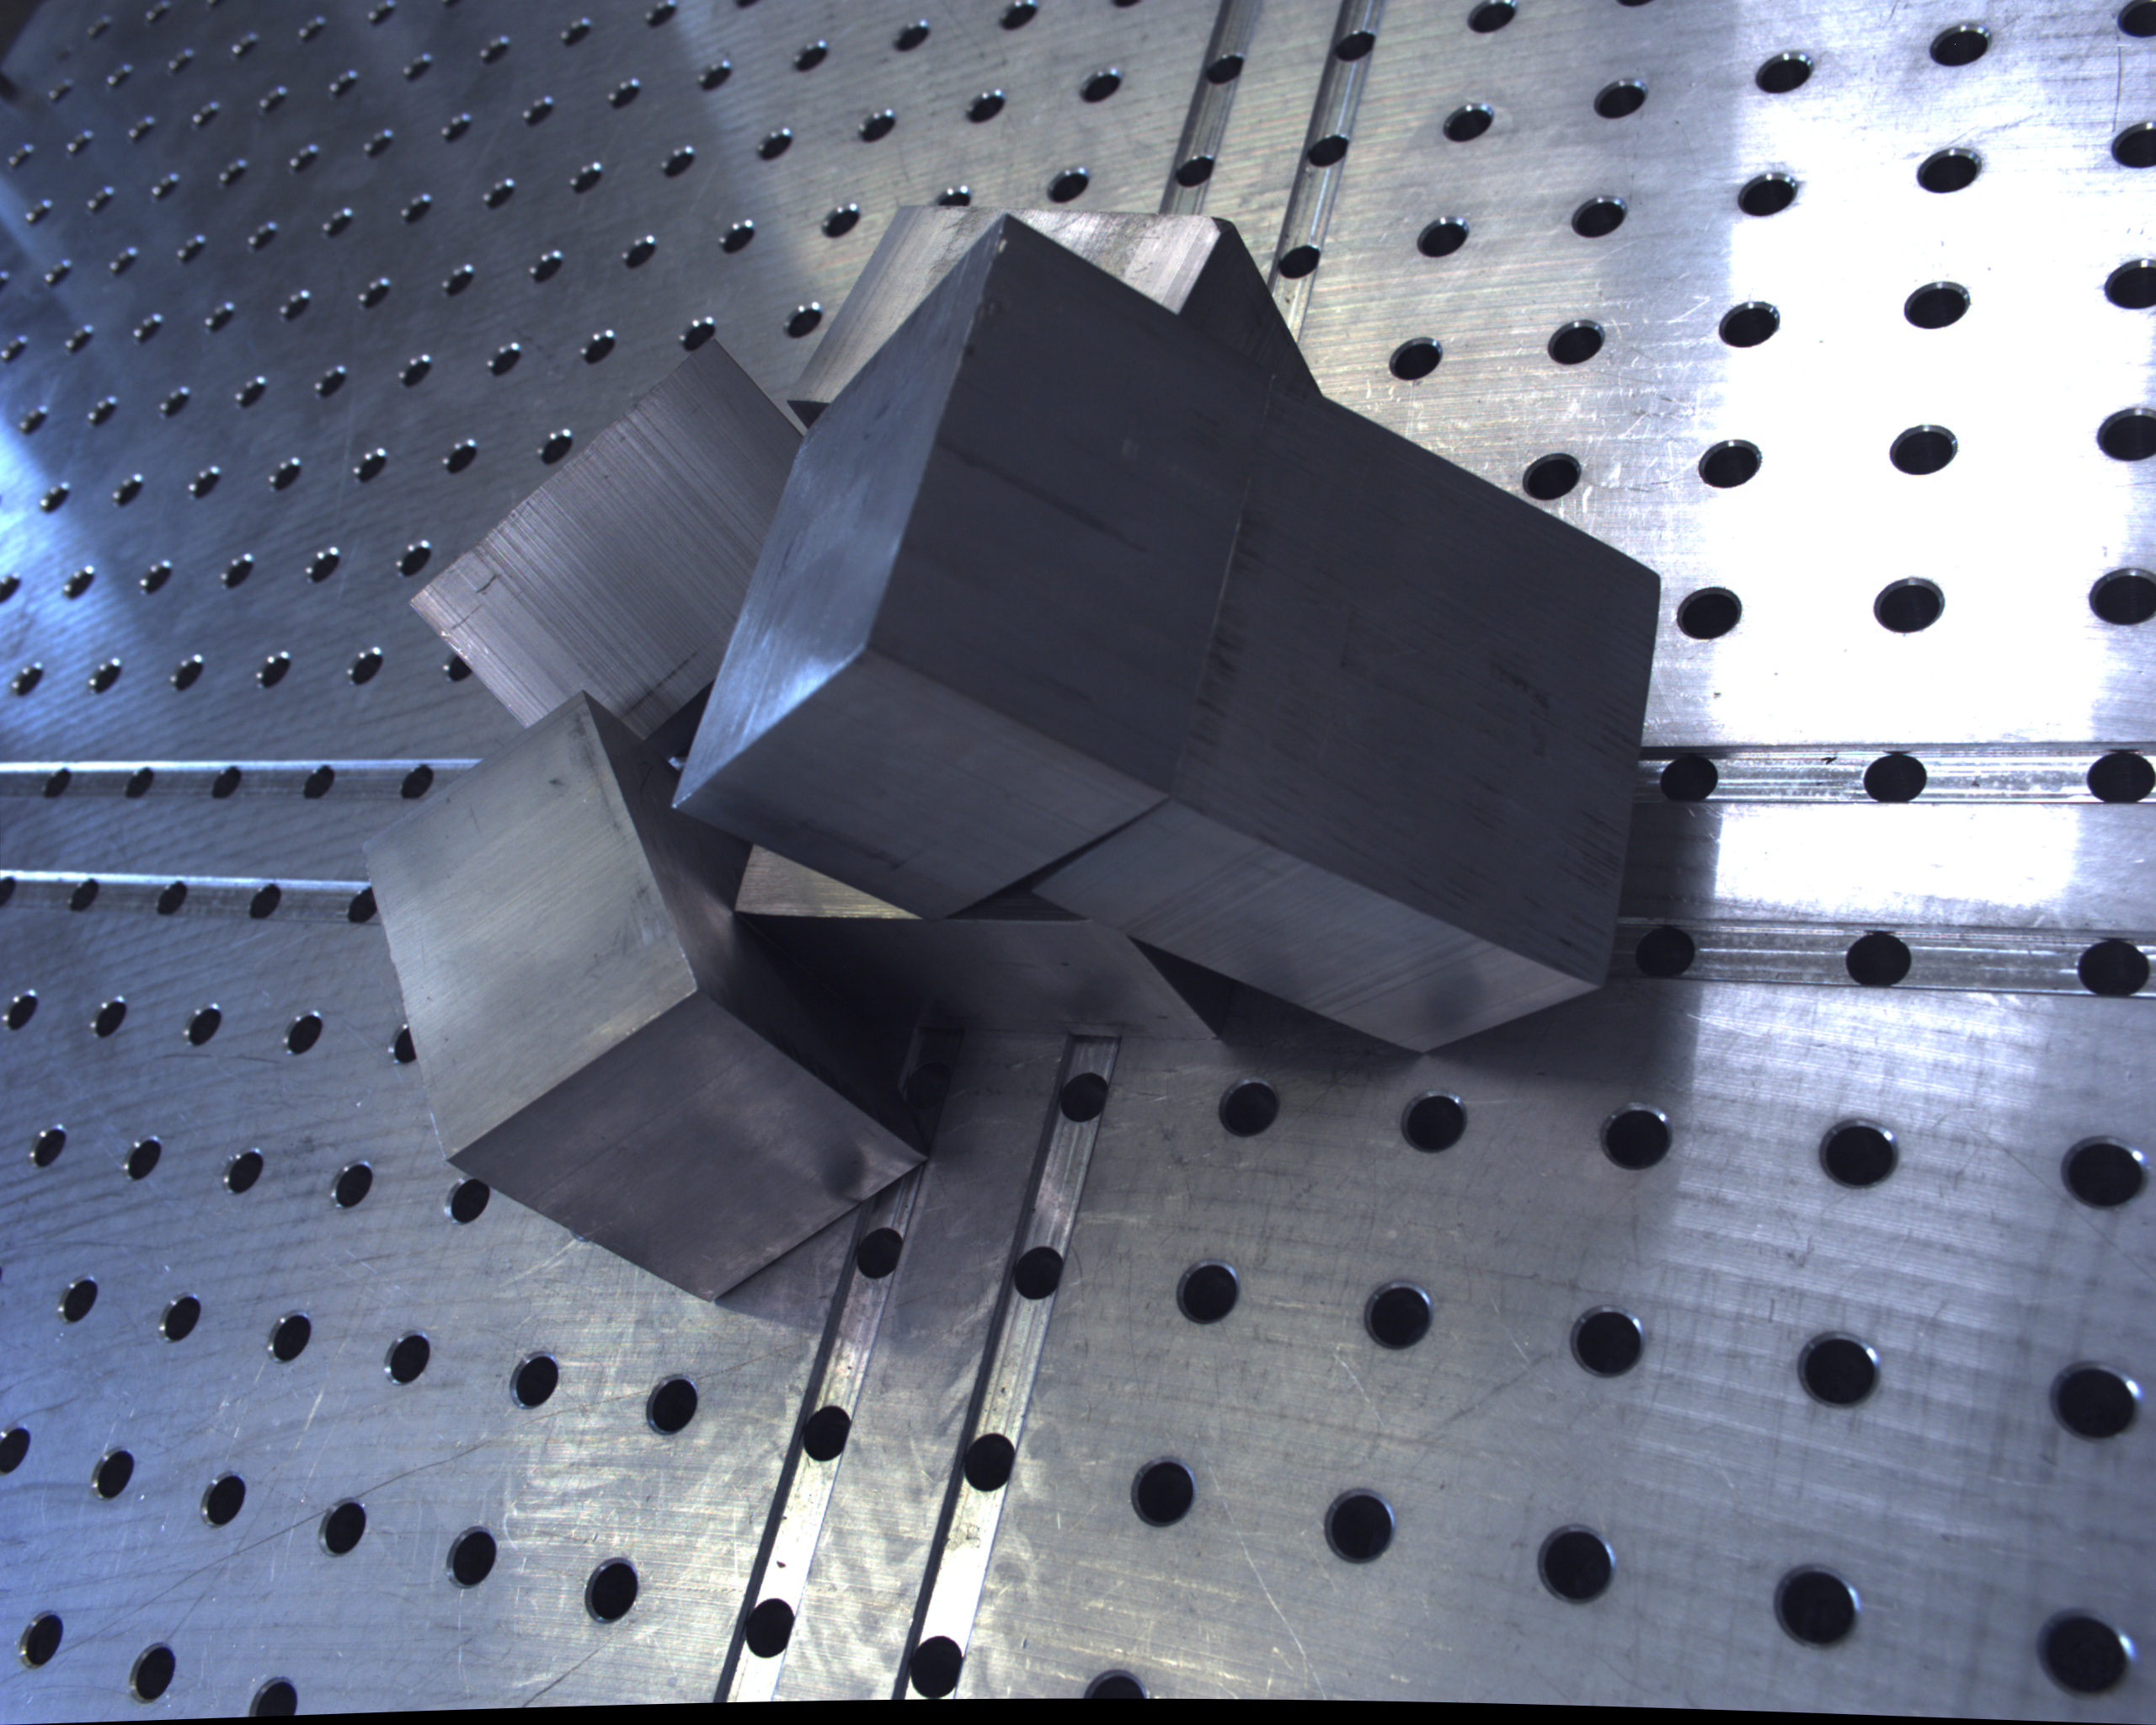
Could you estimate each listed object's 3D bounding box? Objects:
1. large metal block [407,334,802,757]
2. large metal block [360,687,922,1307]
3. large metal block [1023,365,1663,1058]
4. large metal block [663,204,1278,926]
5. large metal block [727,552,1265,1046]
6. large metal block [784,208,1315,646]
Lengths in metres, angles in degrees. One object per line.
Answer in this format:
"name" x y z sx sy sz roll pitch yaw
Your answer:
"large metal block" -0.086 -0.061 0.449 0.080 0.080 0.050 -41 95 0
"large metal block" -0.083 0.027 0.400 0.050 0.080 0.080 -34 52 5
"large metal block" 0.046 -0.023 0.353 0.050 0.080 0.080 -33 37 58
"large metal block" -0.019 -0.044 0.341 0.080 0.050 0.080 -28 41 56
"large metal block" -0.010 -0.013 0.407 0.080 0.050 0.080 1 62 29
"large metal block" 0.002 -0.085 0.425 0.080 0.080 0.050 14 69 34
